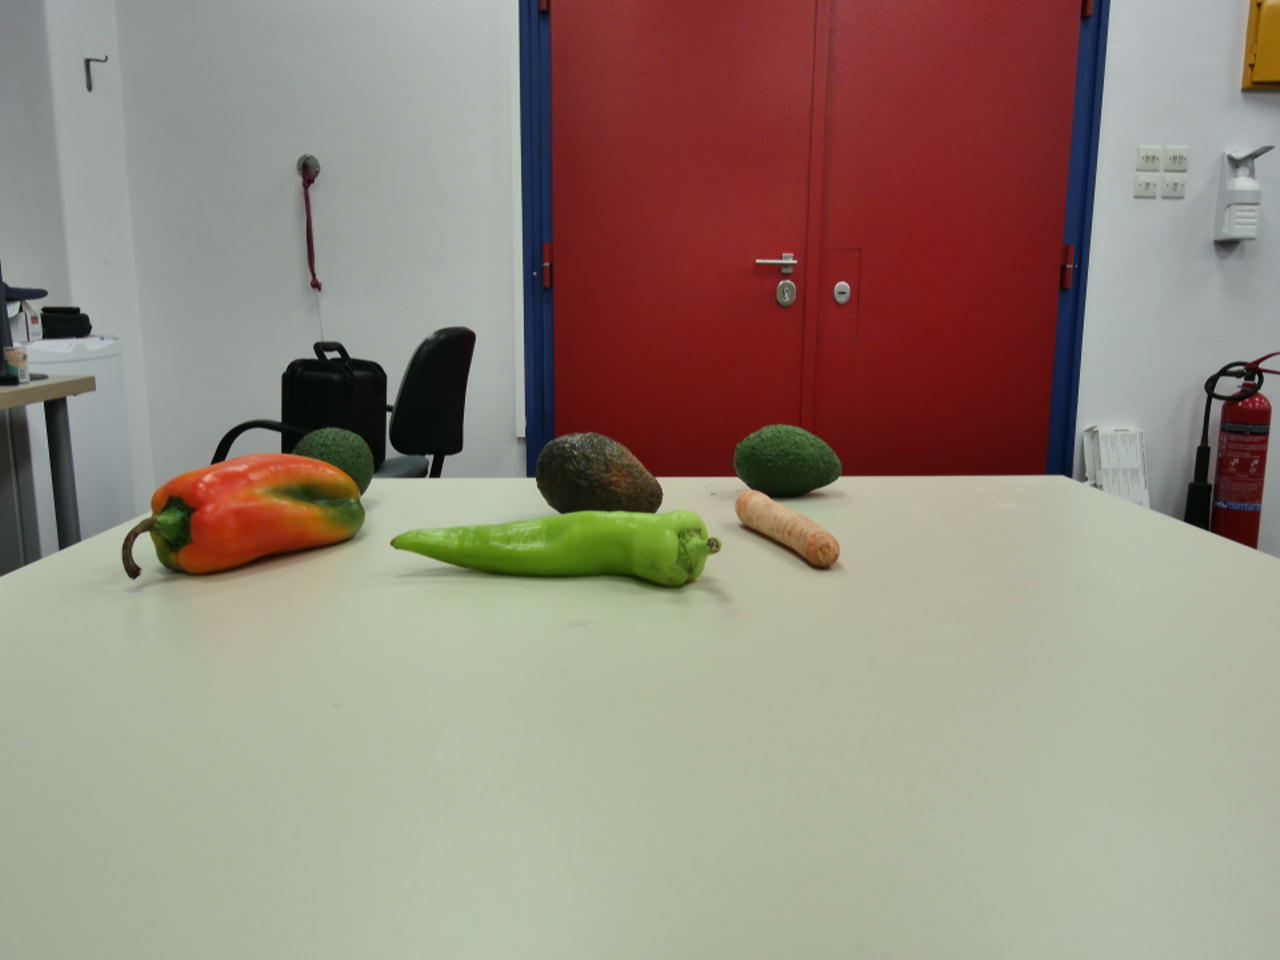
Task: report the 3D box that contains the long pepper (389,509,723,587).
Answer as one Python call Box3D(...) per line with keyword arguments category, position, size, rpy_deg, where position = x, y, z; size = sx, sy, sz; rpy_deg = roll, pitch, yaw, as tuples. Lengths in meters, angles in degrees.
Box3D(category="long pepper", position=(-0.044, 0.038, 0.612), size=(0.205, 0.045, 0.065), rpy_deg=(2, 8, 15))
